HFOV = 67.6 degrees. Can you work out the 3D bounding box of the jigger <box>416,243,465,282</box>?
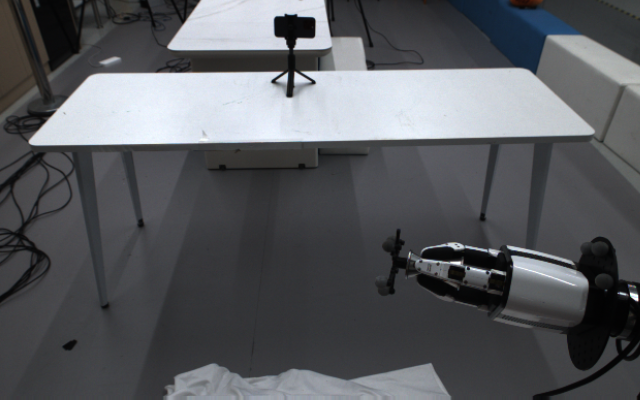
[{"bbox_3d":[0.154,0.084,0.624,0.071,0.043,0.043,8,35,15],"label":"jigger"}]
